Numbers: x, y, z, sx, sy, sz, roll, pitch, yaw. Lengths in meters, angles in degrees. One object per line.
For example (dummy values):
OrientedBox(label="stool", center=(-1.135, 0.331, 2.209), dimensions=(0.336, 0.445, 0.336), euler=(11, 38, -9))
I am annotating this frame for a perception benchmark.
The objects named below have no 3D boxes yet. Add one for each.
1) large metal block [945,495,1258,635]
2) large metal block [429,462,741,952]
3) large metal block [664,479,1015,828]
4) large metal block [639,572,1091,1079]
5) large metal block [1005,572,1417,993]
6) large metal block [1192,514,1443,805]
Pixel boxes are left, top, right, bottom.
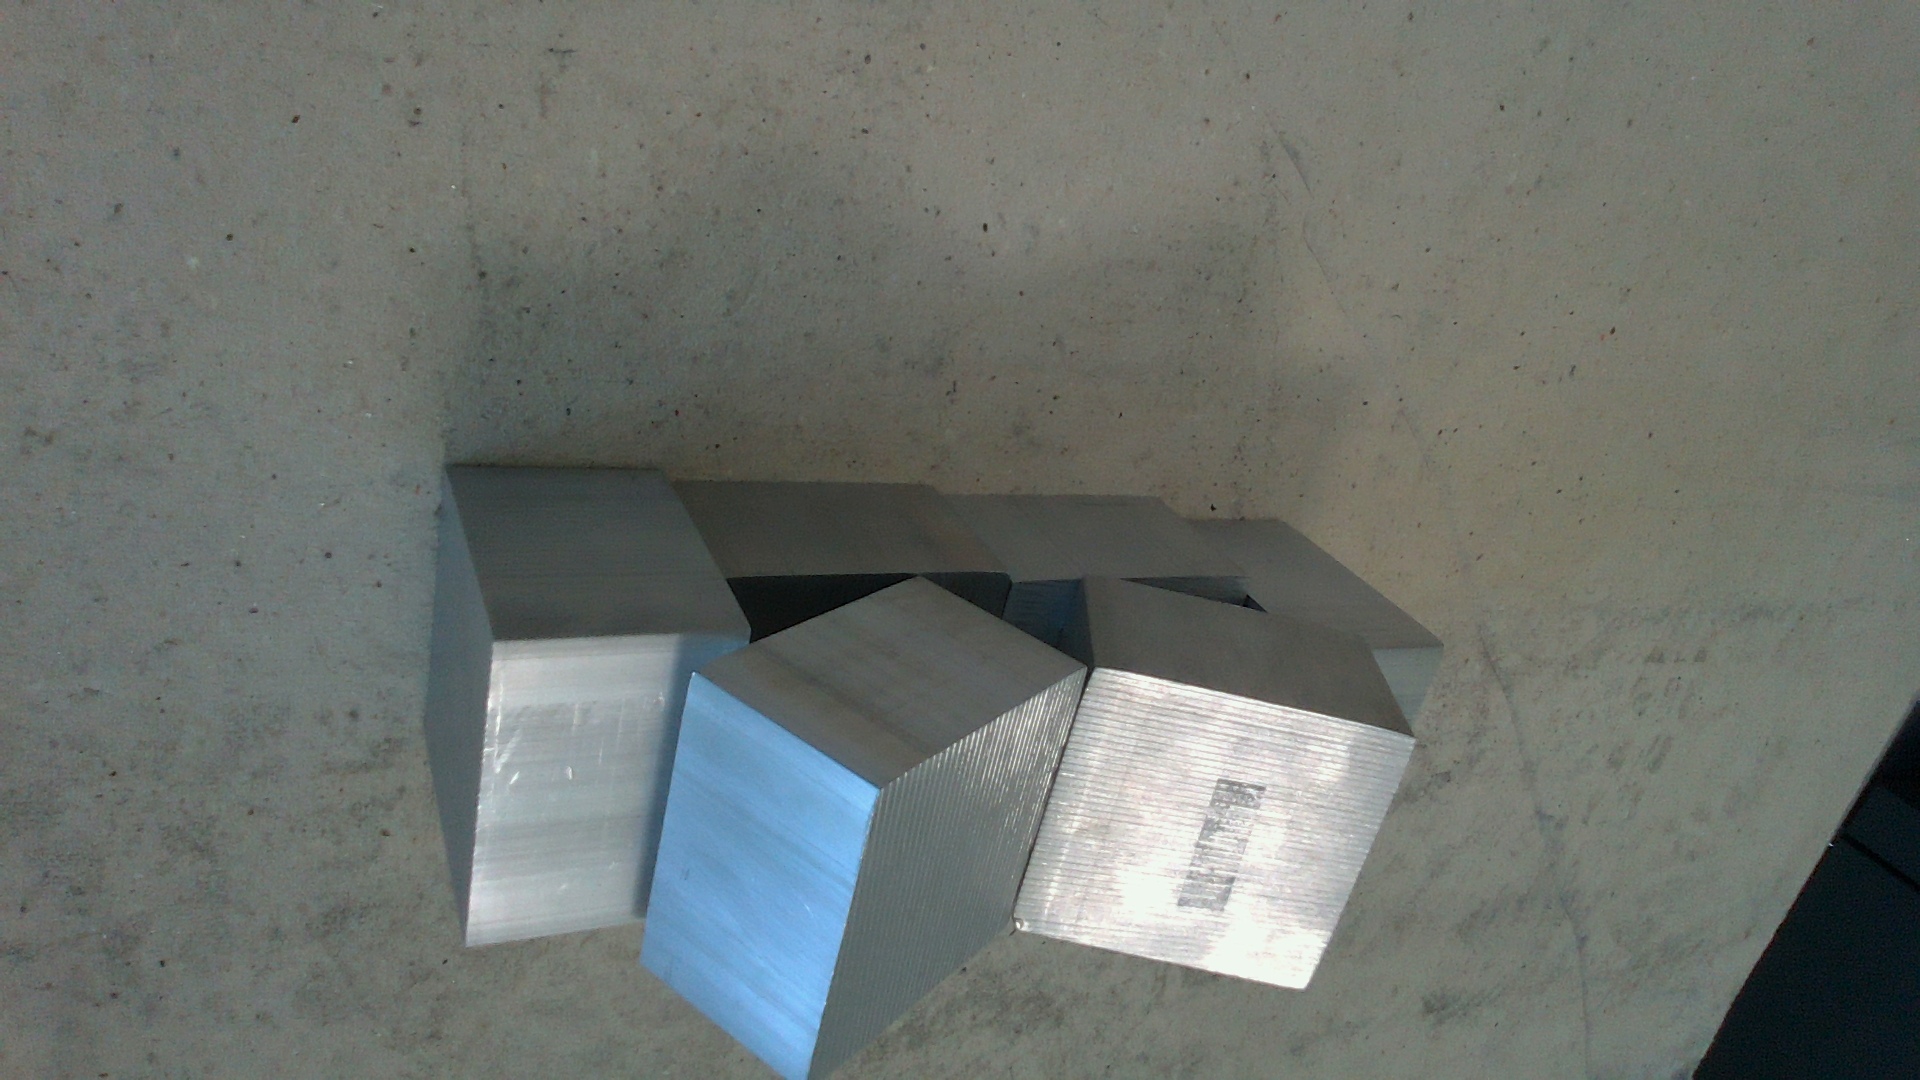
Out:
OrientedBox(label="large metal block", center=(0.030, 0.034, 0.409), dimensions=(0.080, 0.050, 0.080), euler=(0, 118, -28))
OrientedBox(label="large metal block", center=(-0.093, 0.035, 0.324), dimensions=(0.050, 0.080, 0.080), euler=(0, 117, -28))
OrientedBox(label="large metal block", center=(-0.041, 0.031, 0.370), dimensions=(0.080, 0.050, 0.080), euler=(0, 118, -28))
OrientedBox(label="large metal block", center=(-0.021, 0.063, 0.315), dimensions=(0.080, 0.050, 0.080), euler=(-22, 133, -52))
OrientedBox(label="large metal block", center=(0.060, 0.063, 0.360), dimensions=(0.080, 0.050, 0.080), euler=(13, 114, -5))
OrientedBox(label="large metal block", center=(0.092, 0.046, 0.433), dimensions=(0.050, 0.080, 0.080), euler=(-1, 119, -29))
